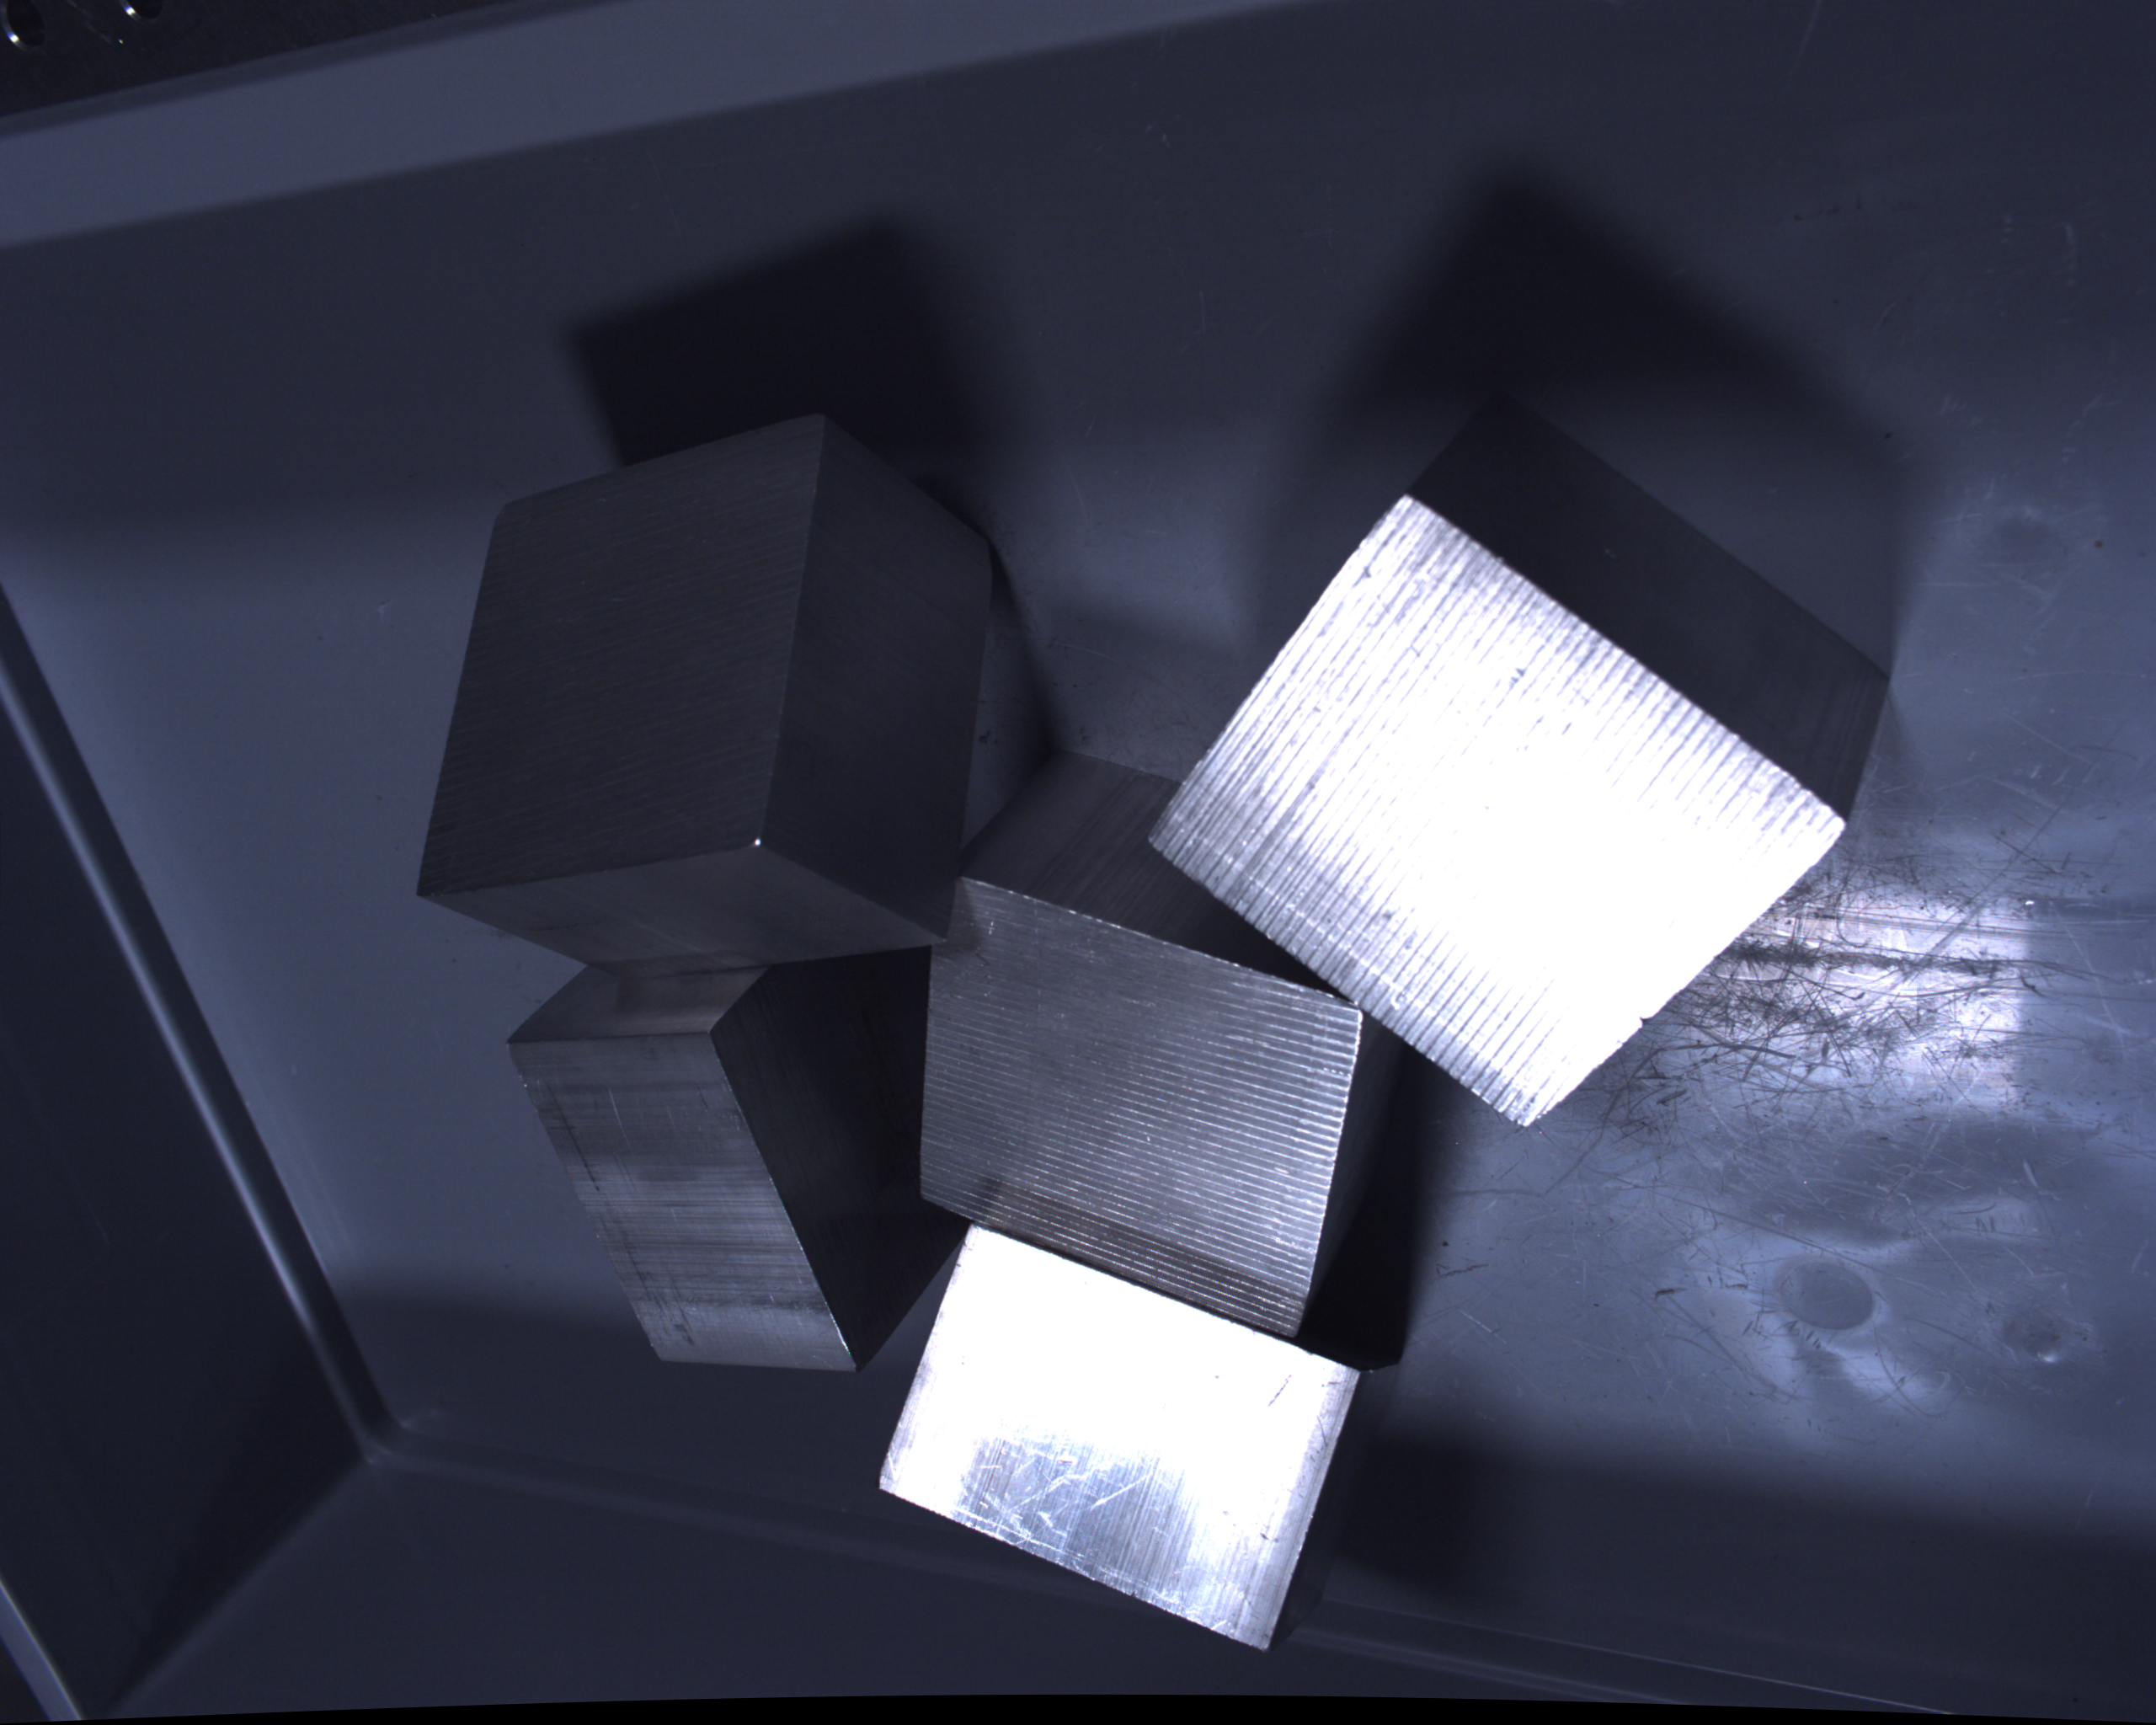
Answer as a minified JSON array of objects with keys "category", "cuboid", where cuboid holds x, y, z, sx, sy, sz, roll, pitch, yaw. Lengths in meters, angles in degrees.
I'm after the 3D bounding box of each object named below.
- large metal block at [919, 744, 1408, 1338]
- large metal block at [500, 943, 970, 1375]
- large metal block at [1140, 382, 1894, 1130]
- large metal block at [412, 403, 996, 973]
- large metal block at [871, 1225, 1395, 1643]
[{"category":"large metal block","cuboid":[0.018,0.033,0.401,0.080,0.050,0.079,18,125,17]},{"category":"large metal block","cuboid":[-0.059,0.047,0.430,0.050,0.080,0.080,-6,116,30]},{"category":"large metal block","cuboid":[0.071,-0.017,0.342,0.080,0.050,0.080,37,129,2]},{"category":"large metal block","cuboid":[-0.066,-0.028,0.380,0.080,0.080,0.050,-7,157,32]},{"category":"large metal block","cuboid":[0.015,0.112,0.423,0.080,0.080,0.050,17,83,16]}]
